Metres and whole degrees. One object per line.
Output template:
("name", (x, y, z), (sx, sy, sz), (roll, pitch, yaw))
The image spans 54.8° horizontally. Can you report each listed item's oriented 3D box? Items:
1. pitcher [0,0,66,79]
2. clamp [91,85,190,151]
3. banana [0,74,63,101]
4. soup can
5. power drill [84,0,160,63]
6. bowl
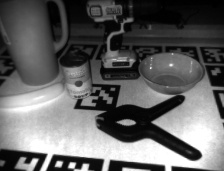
("pitcher", (-0.212, -0.144, 0.573), (0.189, 0.244, 0.132), (-14, 38, -9))
("clamp", (0.052, 0.057, 0.460), (0.202, 0.037, 0.165), (1, 45, 7))
("banana", (-0.224, 0.007, 0.558), (0.198, 0.039, 0.073), (-13, 33, -12))
("soup can", (-0.097, -0.045, 0.556), (0.068, 0.102, 0.067), (-3, 32, 3))
("power drill", (0.030, -0.151, 0.571), (0.184, 0.188, 0.057), (-1, 41, 4))
("bowl", (0.135, -0.045, 0.567), (0.161, 0.055, 0.161), (-3, 42, 3))
